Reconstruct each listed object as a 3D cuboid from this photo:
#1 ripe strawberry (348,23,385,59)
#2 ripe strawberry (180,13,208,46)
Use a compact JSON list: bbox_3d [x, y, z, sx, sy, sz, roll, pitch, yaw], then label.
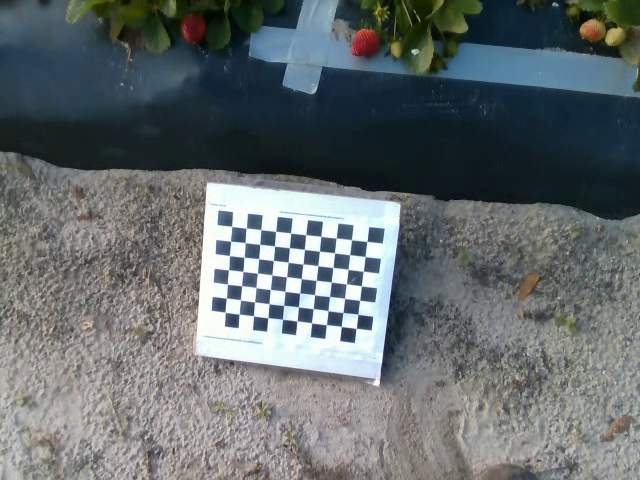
[{"bbox_3d":[0.030,-0.133,0.451,0.023,0.026,0.021,18,-31,28],"label":"ripe strawberry"},{"bbox_3d":[-0.089,-0.145,0.458,0.018,0.023,0.020,-1,-22,24],"label":"ripe strawberry"}]
